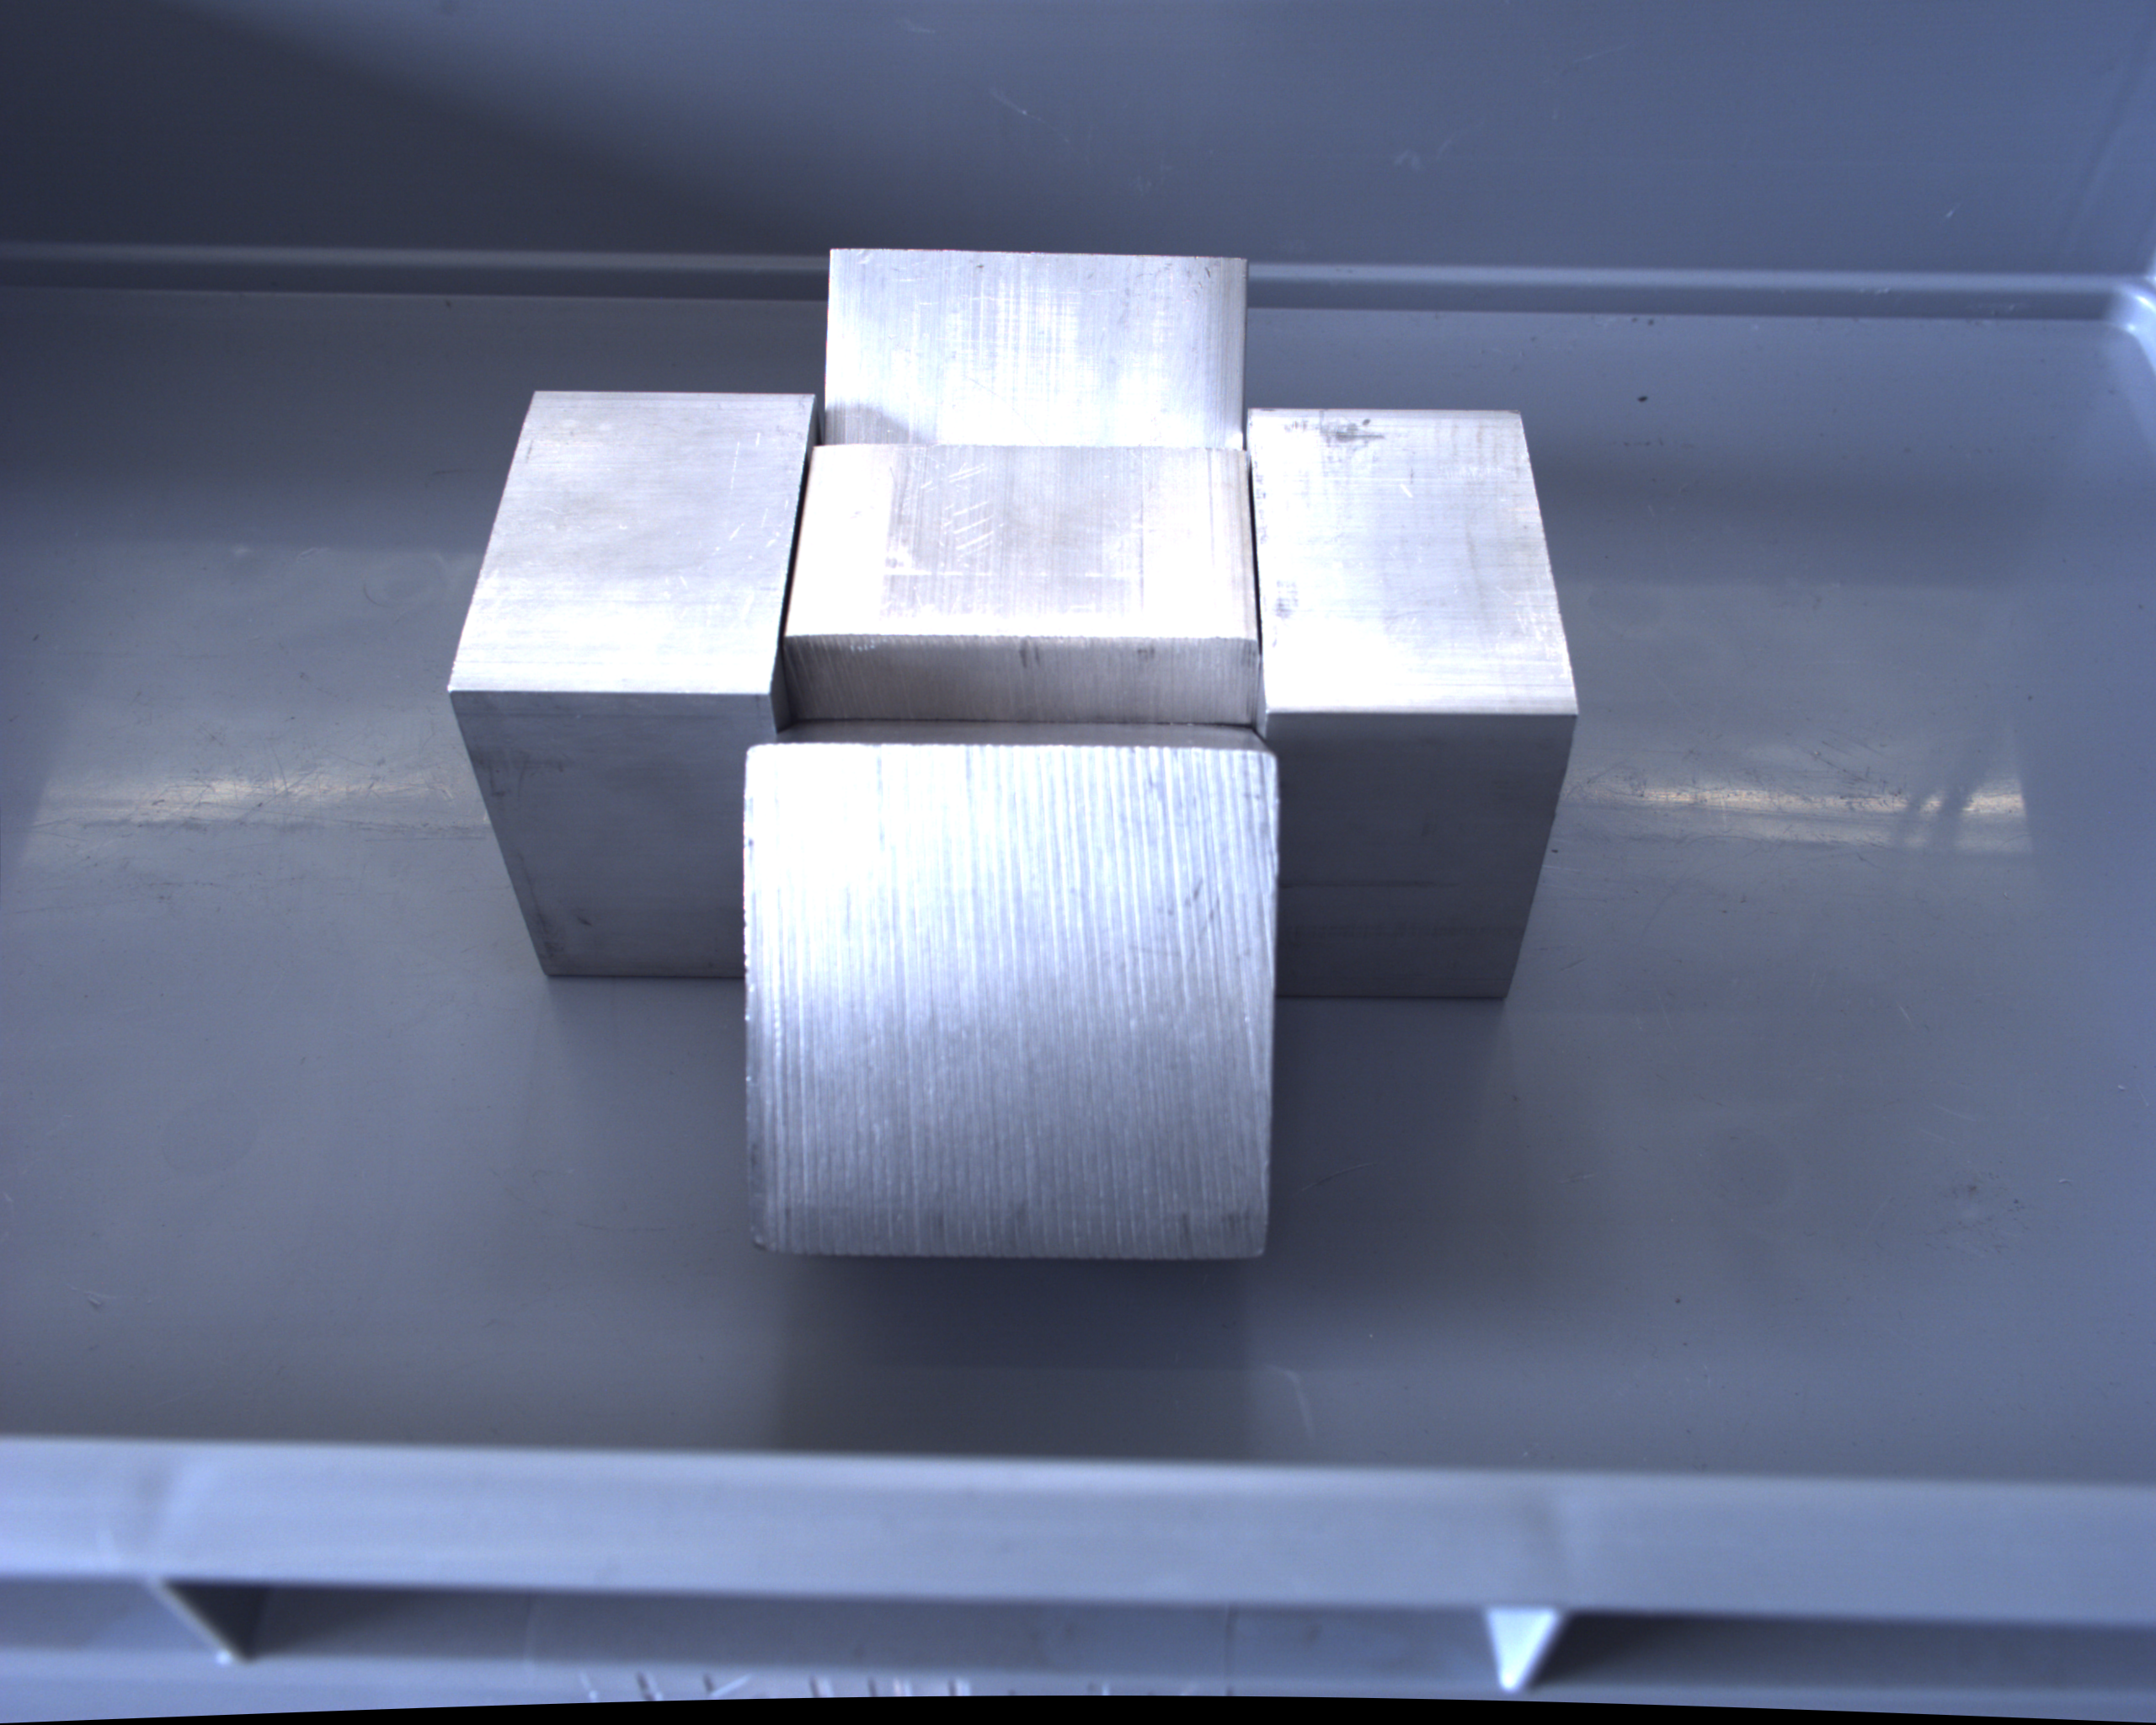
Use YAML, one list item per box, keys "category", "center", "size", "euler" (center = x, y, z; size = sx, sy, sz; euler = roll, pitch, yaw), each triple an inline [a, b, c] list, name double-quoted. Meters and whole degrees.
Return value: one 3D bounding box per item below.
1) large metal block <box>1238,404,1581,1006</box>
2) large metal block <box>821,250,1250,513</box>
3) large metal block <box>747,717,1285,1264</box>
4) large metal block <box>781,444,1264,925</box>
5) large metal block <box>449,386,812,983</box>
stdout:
- category: "large metal block"
  center: [0.057, -0.029, 0.392]
  size: [0.050, 0.080, 0.080]
  euler: [1, 50, 1]
- category: "large metal block"
  center: [-0.007, -0.089, 0.435]
  size: [0.080, 0.080, 0.050]
  euler: [1, 88, 1]
- category: "large metal block"
  center: [-0.010, 0.019, 0.343]
  size: [0.081, 0.079, 0.050]
  euler: [1, 8, -1]
- category: "large metal block"
  center: [-0.009, -0.031, 0.394]
  size: [0.080, 0.080, 0.050]
  euler: [1, 50, 0]
- category: "large metal block"
  center: [-0.076, -0.033, 0.395]
  size: [0.050, 0.080, 0.080]
  euler: [1, 50, 0]
